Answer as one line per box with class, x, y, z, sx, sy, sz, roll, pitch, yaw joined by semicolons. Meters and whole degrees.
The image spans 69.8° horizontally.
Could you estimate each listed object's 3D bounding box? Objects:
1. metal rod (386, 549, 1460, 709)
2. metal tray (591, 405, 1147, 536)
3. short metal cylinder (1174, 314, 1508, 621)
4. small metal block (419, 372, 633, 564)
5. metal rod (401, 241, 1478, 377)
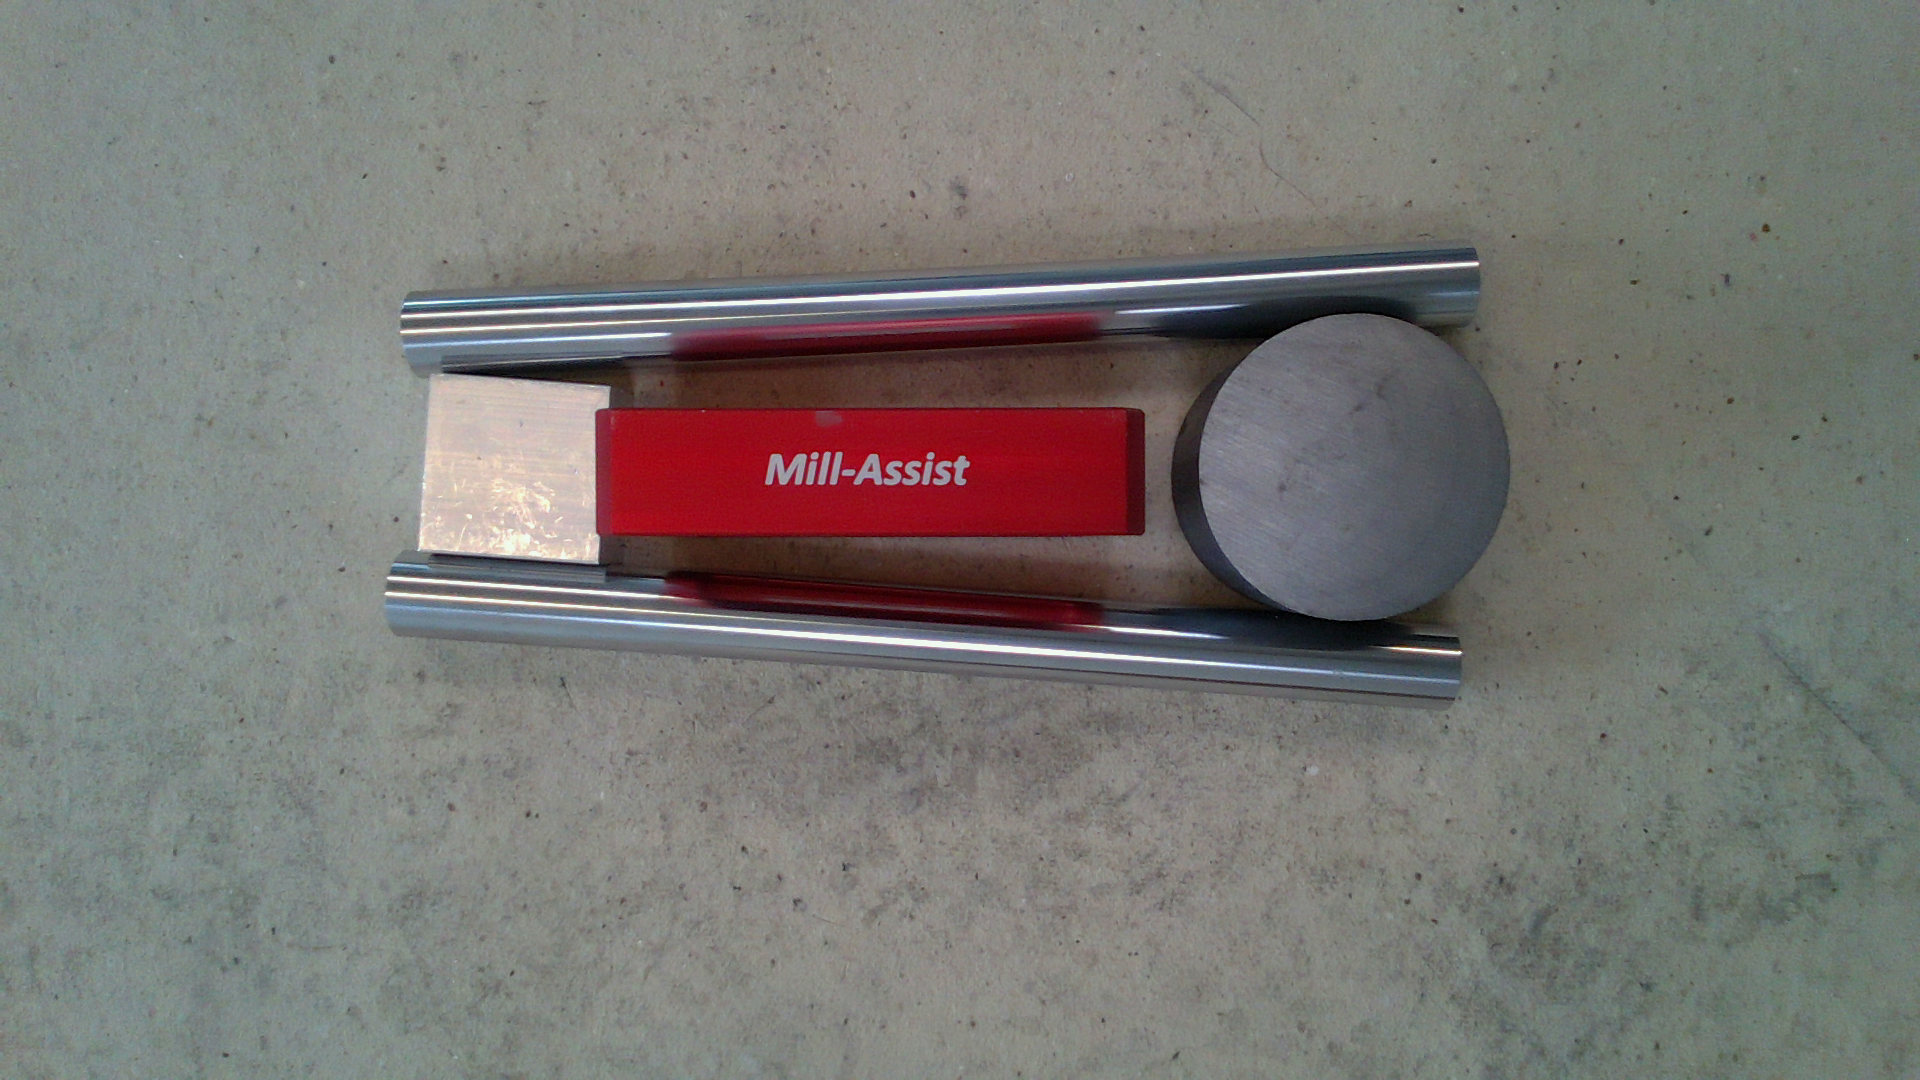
metal rod;-0.010;0.026;0.396;0.300;0.025;0.025;4;90;0
metal tray;-0.021;-0.016;0.361;0.130;0.090;0.030;0;90;0
short metal cylinder;0.103;-0.019;0.383;0.080;0.050;0.080;0;90;0
small metal block;-0.124;-0.020;0.395;0.050;0.025;0.050;4;90;0
metal rod;-0.005;-0.066;0.395;0.300;0.025;0.025;-3;90;0
